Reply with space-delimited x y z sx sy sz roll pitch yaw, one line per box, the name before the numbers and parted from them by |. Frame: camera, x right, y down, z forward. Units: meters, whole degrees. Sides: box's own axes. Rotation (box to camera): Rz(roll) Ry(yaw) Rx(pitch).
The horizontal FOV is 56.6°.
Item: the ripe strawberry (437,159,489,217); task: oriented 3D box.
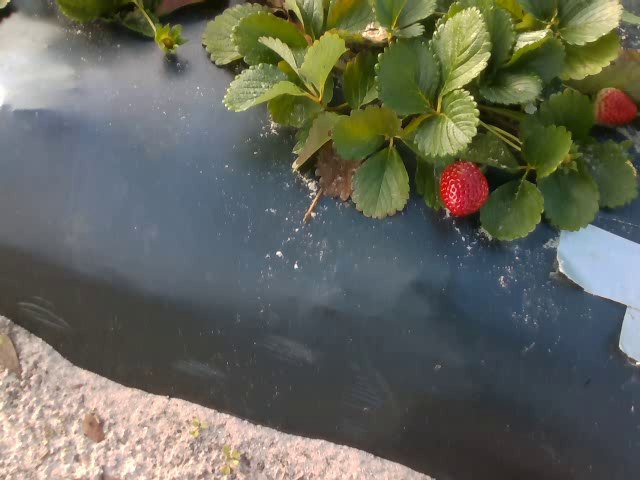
ripe strawberry | 0.048 -0.016 0.199 0.018 0.023 0.021 8 -41 21
